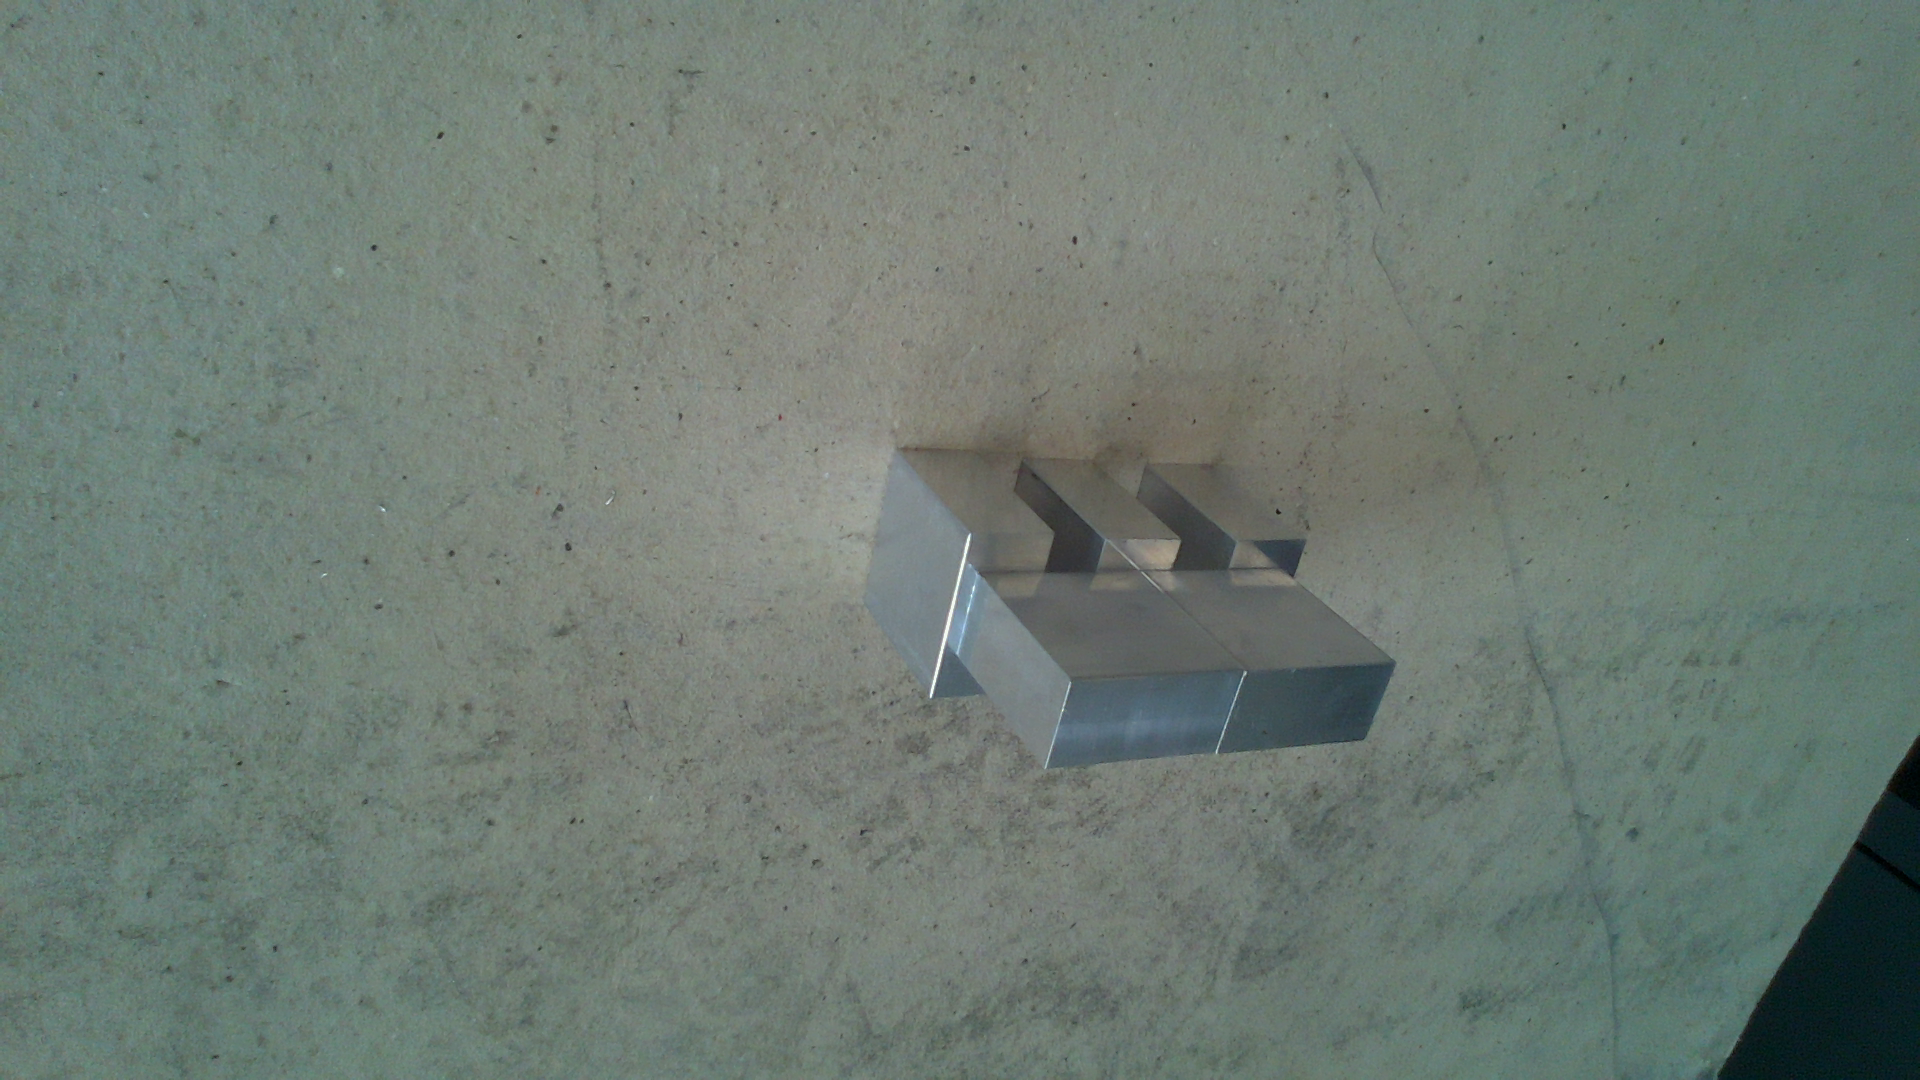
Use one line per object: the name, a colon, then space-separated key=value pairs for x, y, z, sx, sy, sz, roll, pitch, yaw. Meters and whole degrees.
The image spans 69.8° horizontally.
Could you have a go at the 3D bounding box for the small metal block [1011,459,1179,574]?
small metal block: x=0.033 y=0.010 z=0.398 sx=0.025 sy=0.050 sz=0.050 roll=-1 pitch=119 yaw=-27

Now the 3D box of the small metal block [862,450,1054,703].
small metal block: x=-0.002 y=0.009 z=0.377 sx=0.025 sy=0.050 sz=0.050 roll=0 pitch=118 yaw=-27

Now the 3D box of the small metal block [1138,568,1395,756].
small metal block: x=0.078 y=0.031 z=0.371 sx=0.050 sy=0.050 sz=0.025 roll=-1 pitch=119 yaw=-28

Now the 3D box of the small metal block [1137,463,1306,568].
small metal block: x=0.073 y=0.010 z=0.420 sx=0.025 sy=0.050 sz=0.050 roll=-1 pitch=119 yaw=-27

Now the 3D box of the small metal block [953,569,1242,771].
small metal block: x=0.033 y=0.031 z=0.347 sx=0.050 sy=0.050 sz=0.025 roll=-1 pitch=119 yaw=-28
